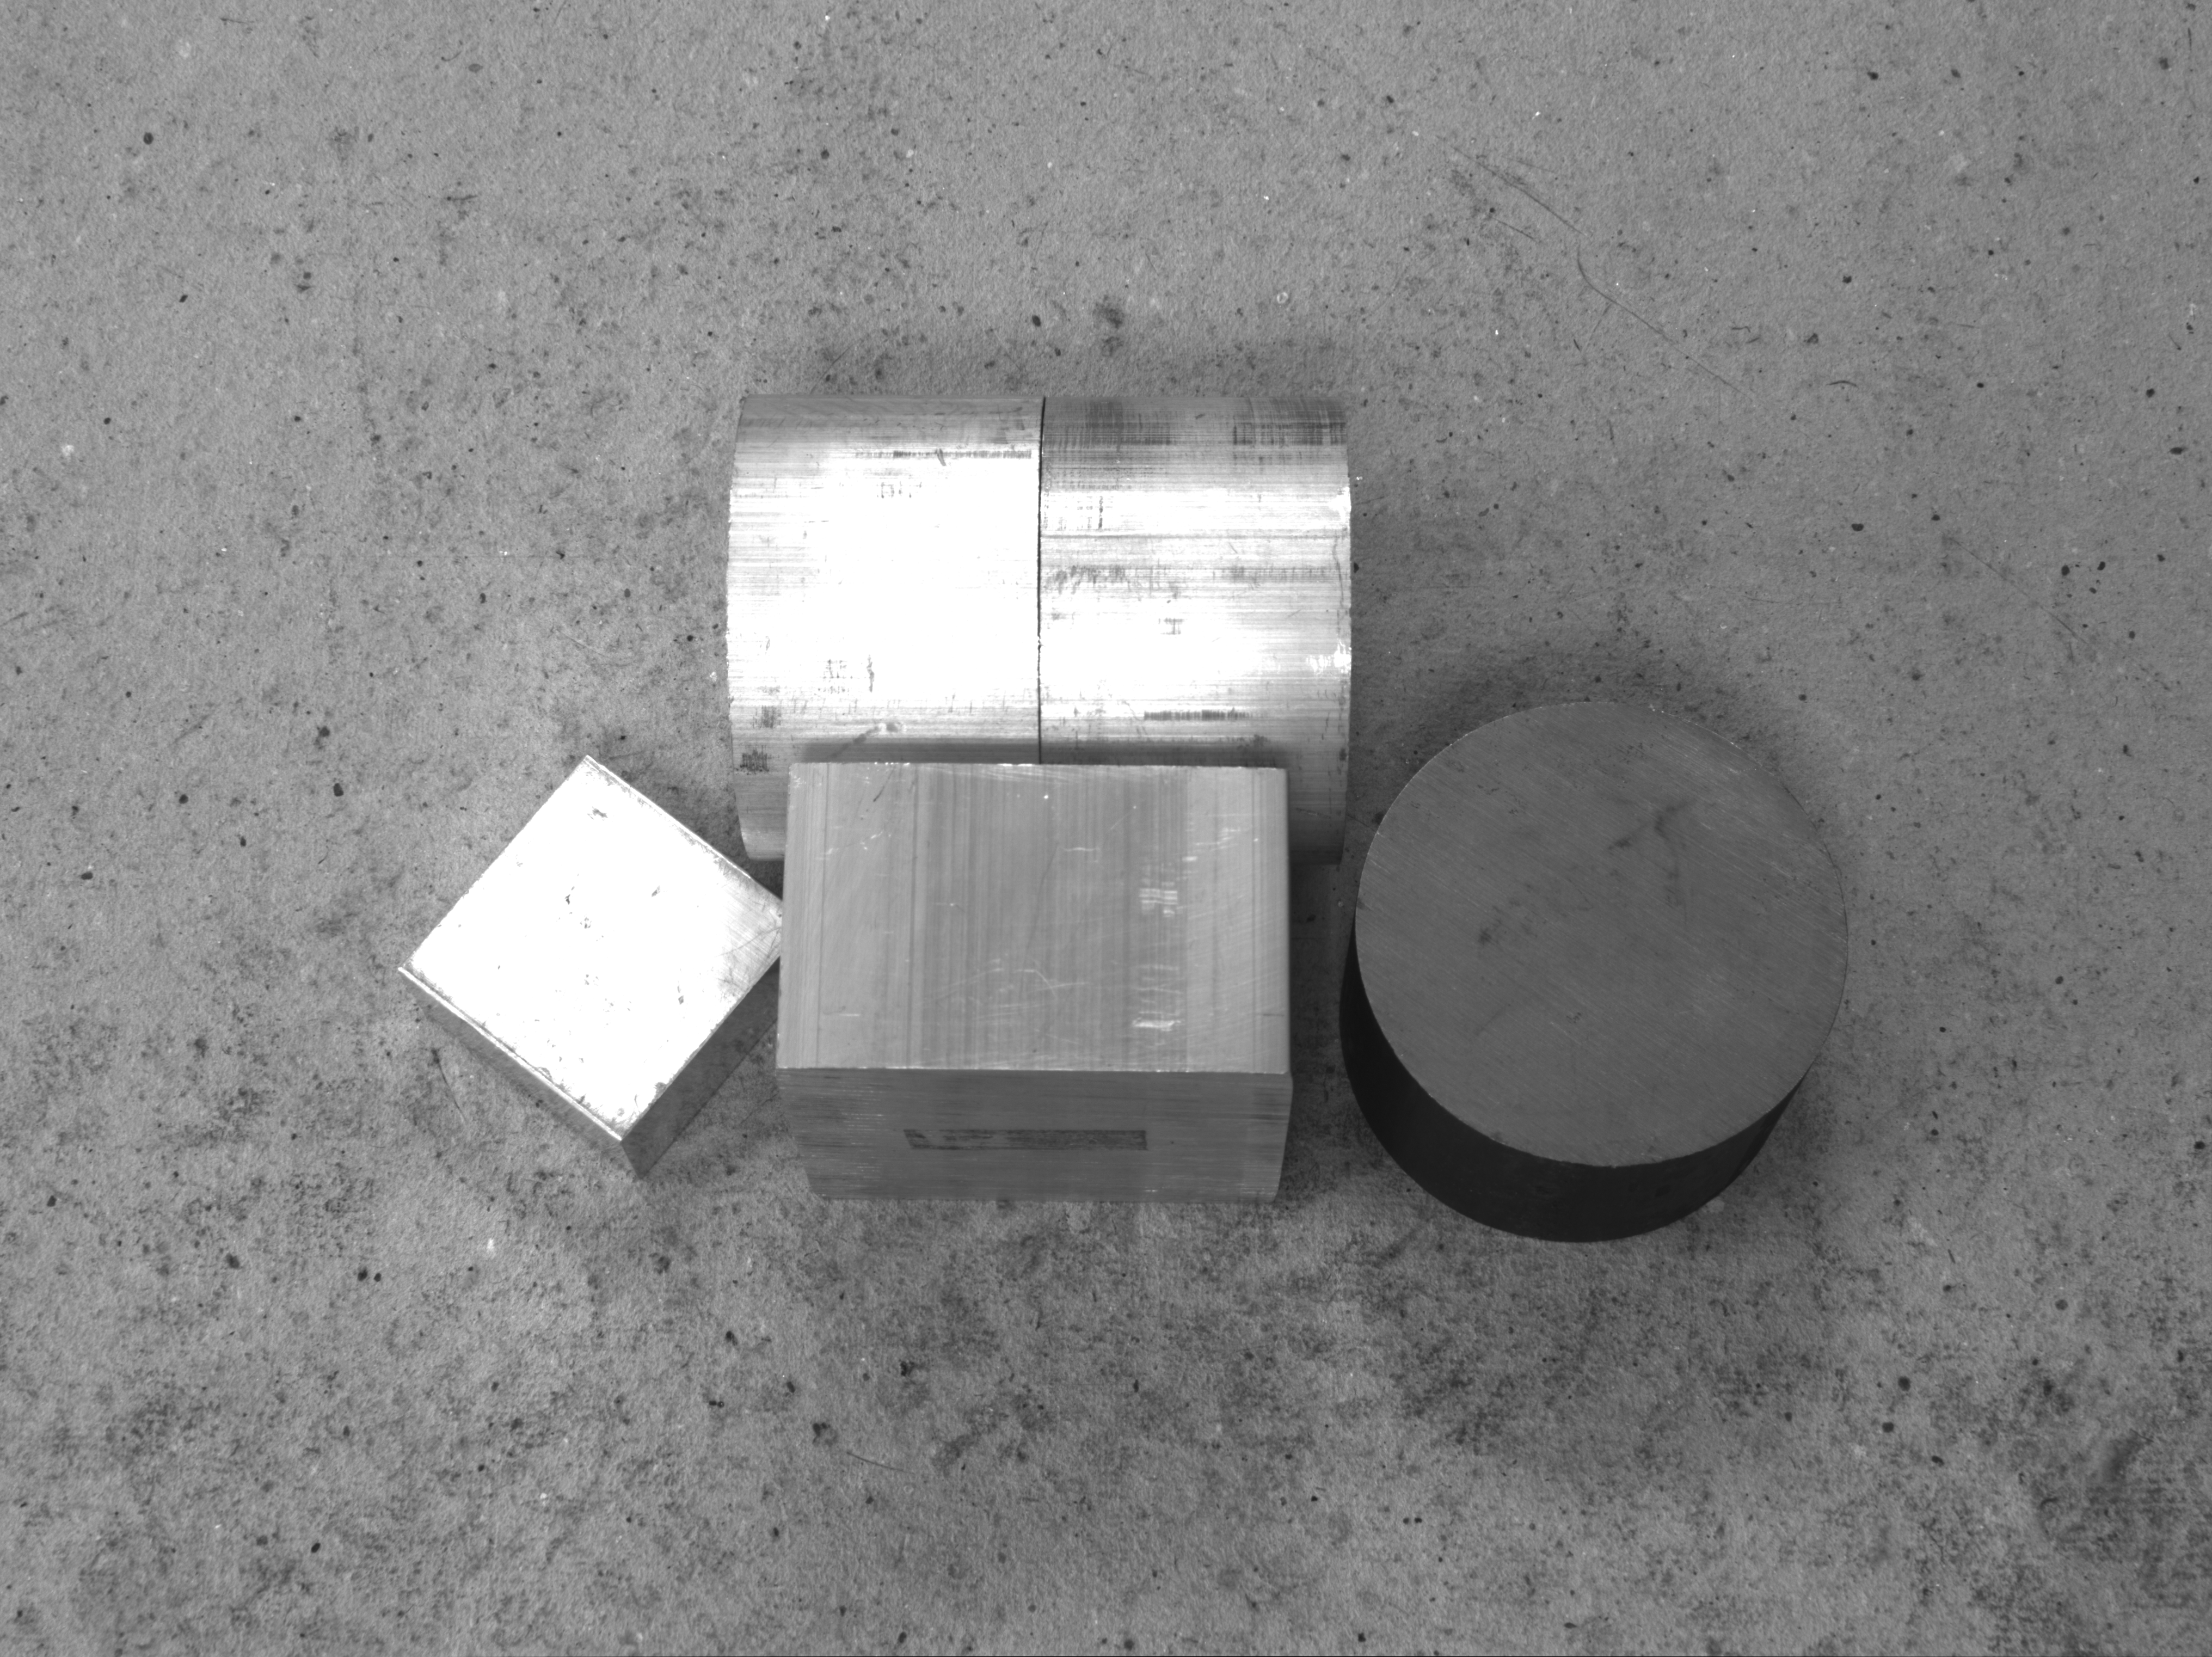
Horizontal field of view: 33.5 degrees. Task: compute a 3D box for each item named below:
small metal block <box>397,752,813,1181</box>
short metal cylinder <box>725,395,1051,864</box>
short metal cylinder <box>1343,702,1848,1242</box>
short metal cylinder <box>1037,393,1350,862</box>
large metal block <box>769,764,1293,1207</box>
[{"bbox_3d":[-0.085,0.024,0.638,0.050,0.025,0.050,36,74,12],"label":"small metal block"},{"bbox_3d":[-0.036,-0.034,0.629,0.050,0.080,0.080,1,70,1],"label":"short metal cylinder"},{"bbox_3d":[0.081,0.025,0.623,0.080,0.050,0.080,0,70,0],"label":"short metal cylinder"},{"bbox_3d":[0.015,-0.034,0.629,0.050,0.080,0.080,1,70,1],"label":"short metal cylinder"},{"bbox_3d":[-0.011,0.028,0.607,0.080,0.080,0.050,1,70,0],"label":"large metal block"}]
